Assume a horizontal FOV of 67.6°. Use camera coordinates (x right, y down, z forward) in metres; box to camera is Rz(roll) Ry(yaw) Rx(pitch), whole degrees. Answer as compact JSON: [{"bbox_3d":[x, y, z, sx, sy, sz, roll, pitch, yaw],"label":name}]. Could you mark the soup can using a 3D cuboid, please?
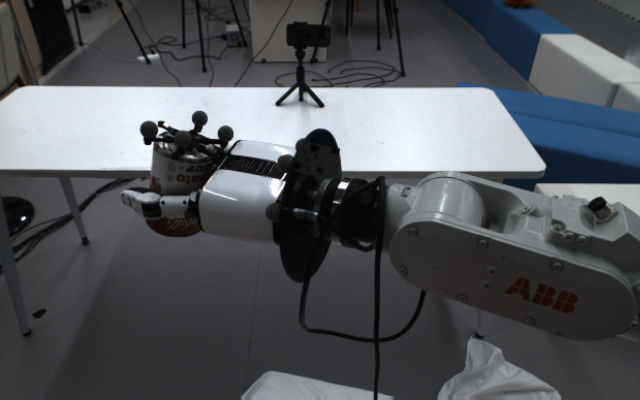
[{"bbox_3d":[-0.155,-0.017,0.542,0.067,0.101,0.067,13,31,-8],"label":"soup can"}]
